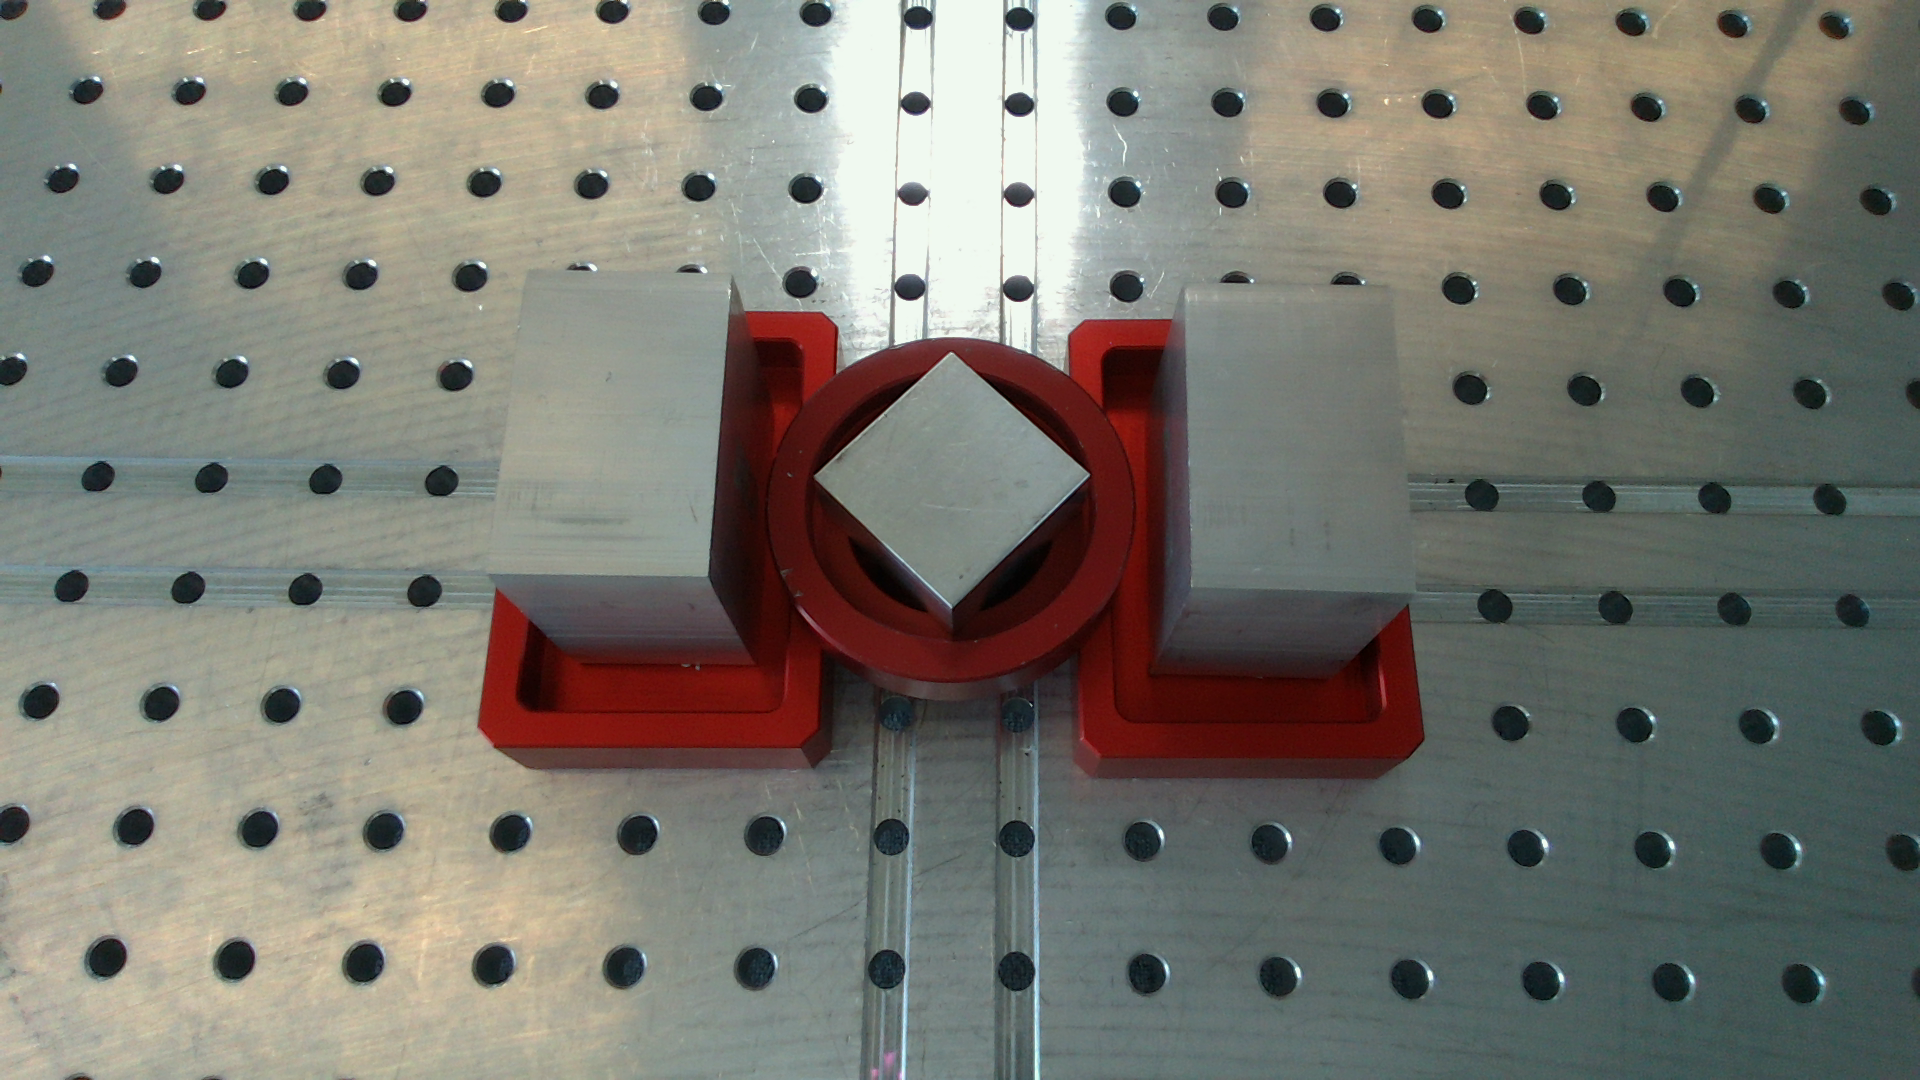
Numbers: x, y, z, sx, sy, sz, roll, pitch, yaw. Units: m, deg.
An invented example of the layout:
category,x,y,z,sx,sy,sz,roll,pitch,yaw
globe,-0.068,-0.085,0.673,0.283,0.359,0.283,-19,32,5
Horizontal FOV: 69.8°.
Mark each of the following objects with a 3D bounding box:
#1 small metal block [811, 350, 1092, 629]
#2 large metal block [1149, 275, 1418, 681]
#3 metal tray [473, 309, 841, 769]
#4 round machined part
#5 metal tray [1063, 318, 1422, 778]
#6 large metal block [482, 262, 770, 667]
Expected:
category,x,y,z,sx,sy,sz,roll,pitch,yaw
small metal block,-0.002,-0.012,0.358,0.050,0.025,0.050,43,75,14
large metal block,0.078,-0.013,0.358,0.050,0.080,0.080,1,70,1
metal tray,-0.082,-0.002,0.394,0.090,0.030,0.130,1,70,0
round machined part,-0.003,-0.003,0.380,0.098,0.042,0.098,0,70,0
metal tray,0.076,0.001,0.393,0.090,0.030,0.130,0,70,0
large metal block,-0.081,-0.016,0.359,0.050,0.080,0.080,1,70,1
